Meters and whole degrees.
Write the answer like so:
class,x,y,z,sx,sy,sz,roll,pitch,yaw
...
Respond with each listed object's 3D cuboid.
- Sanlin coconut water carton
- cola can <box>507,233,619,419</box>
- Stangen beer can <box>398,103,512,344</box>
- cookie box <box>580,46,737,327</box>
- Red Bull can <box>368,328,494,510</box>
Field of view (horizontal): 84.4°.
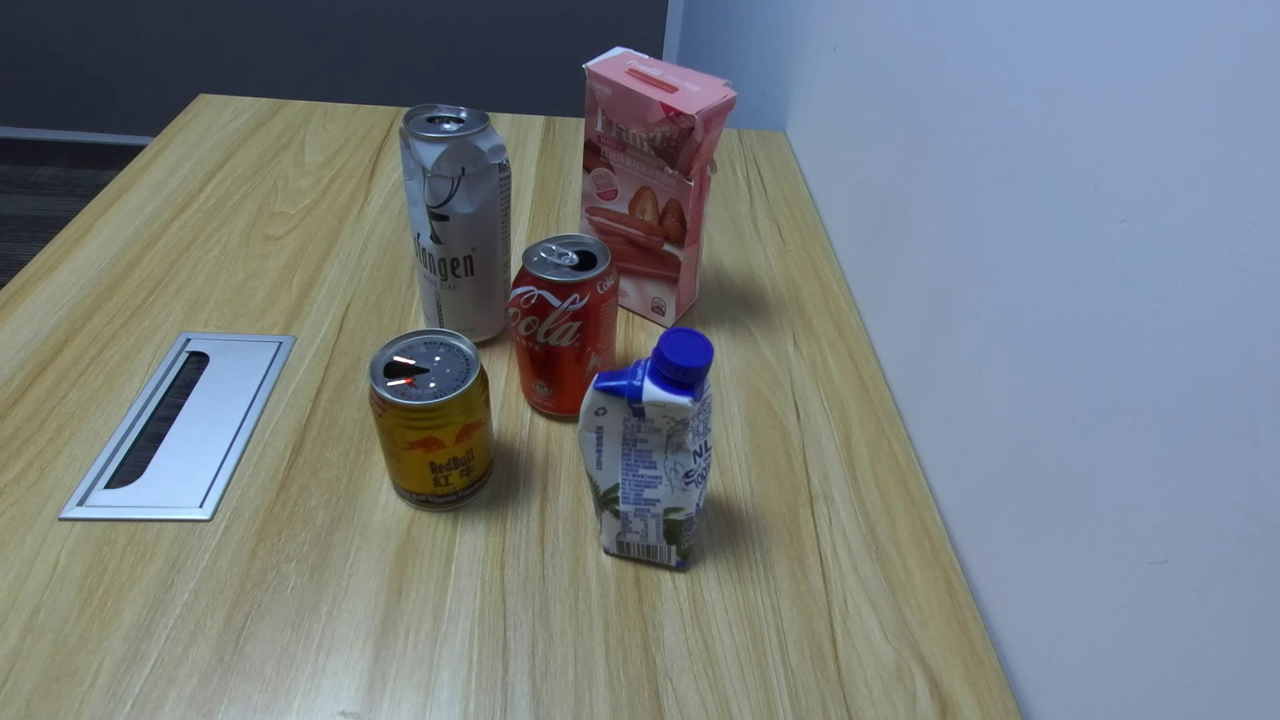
class,x,y,z,sx,sy,sz,roll,pitch,yaw
Sanlin coconut water carton,0.005,0.043,0.387,0.068,0.145,0.056,3,36,8
cola can,-0.047,-0.020,0.469,0.072,0.117,0.065,-27,53,-31
Stangen beer can,-0.126,-0.092,0.498,0.066,0.166,0.065,-18,49,-24
cookie box,0.005,-0.122,0.529,0.104,0.186,0.059,29,49,21
Red Bull can,-0.121,0.036,0.419,0.067,0.093,0.067,4,44,-3
